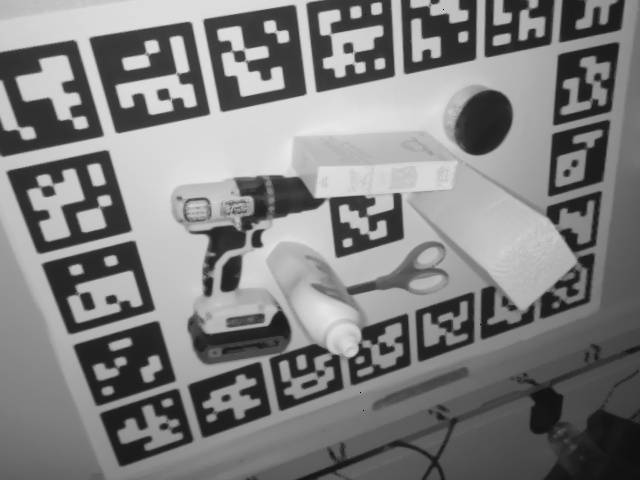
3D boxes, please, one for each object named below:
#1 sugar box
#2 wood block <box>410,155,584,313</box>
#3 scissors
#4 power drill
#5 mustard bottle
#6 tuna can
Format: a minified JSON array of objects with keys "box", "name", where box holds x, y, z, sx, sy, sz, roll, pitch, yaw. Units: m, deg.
[{"box":[0.062,-0.094,0.799,0.178,0.093,0.045,-2,118,-18],"name":"sugar box"},{"box":[0.205,-0.014,0.834,0.091,0.206,0.090,-38,120,1],"name":"wood block"},{"box":[0.113,0.057,0.930,0.205,0.016,0.087,-12,121,-16],"name":"scissors"},{"box":[-0.069,0.008,0.814,0.187,0.057,0.186,-1,107,-21],"name":"power drill"},{"box":[-0.001,0.067,0.799,0.097,0.191,0.058,38,97,-29],"name":"mustard bottle"},{"box":[0.212,-0.149,0.859,0.086,0.033,0.085,-8,115,-16],"name":"tuna can"}]
